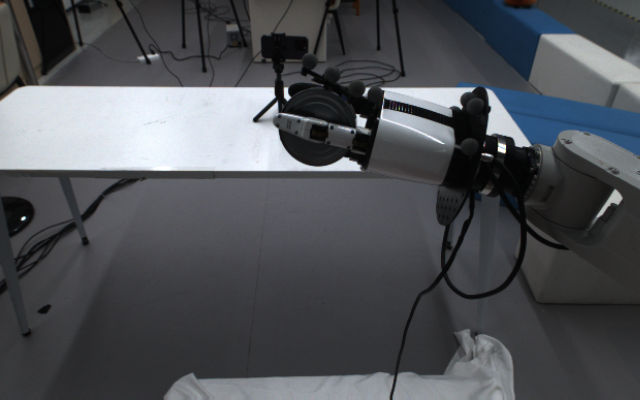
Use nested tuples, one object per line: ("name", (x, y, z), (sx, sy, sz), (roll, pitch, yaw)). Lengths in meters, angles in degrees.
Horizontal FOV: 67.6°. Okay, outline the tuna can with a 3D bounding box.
("tuna can", (0.001, -0.084, 0.544), (0.085, 0.085, 0.034), (7, 17, 6))
